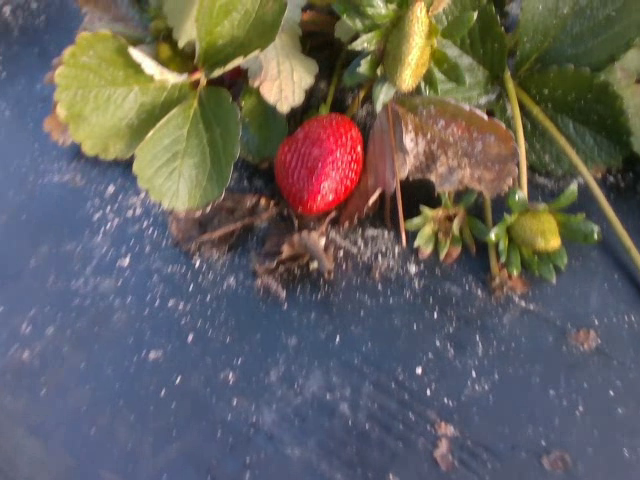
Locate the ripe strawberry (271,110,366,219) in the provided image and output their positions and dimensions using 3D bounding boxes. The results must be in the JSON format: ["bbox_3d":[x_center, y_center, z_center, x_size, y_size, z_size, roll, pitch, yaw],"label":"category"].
[{"bbox_3d":[-0.002,-0.018,0.148,0.031,0.026,0.030,-8,42,7],"label":"ripe strawberry"}]
